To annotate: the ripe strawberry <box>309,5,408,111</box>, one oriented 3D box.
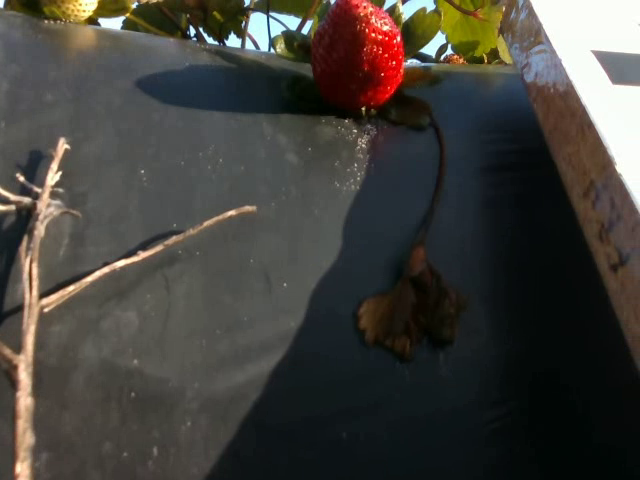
[{"bbox_3d":[0.004,-0.023,0.068,0.016,0.015,0.022,12,-5,2],"label":"ripe strawberry"}]
